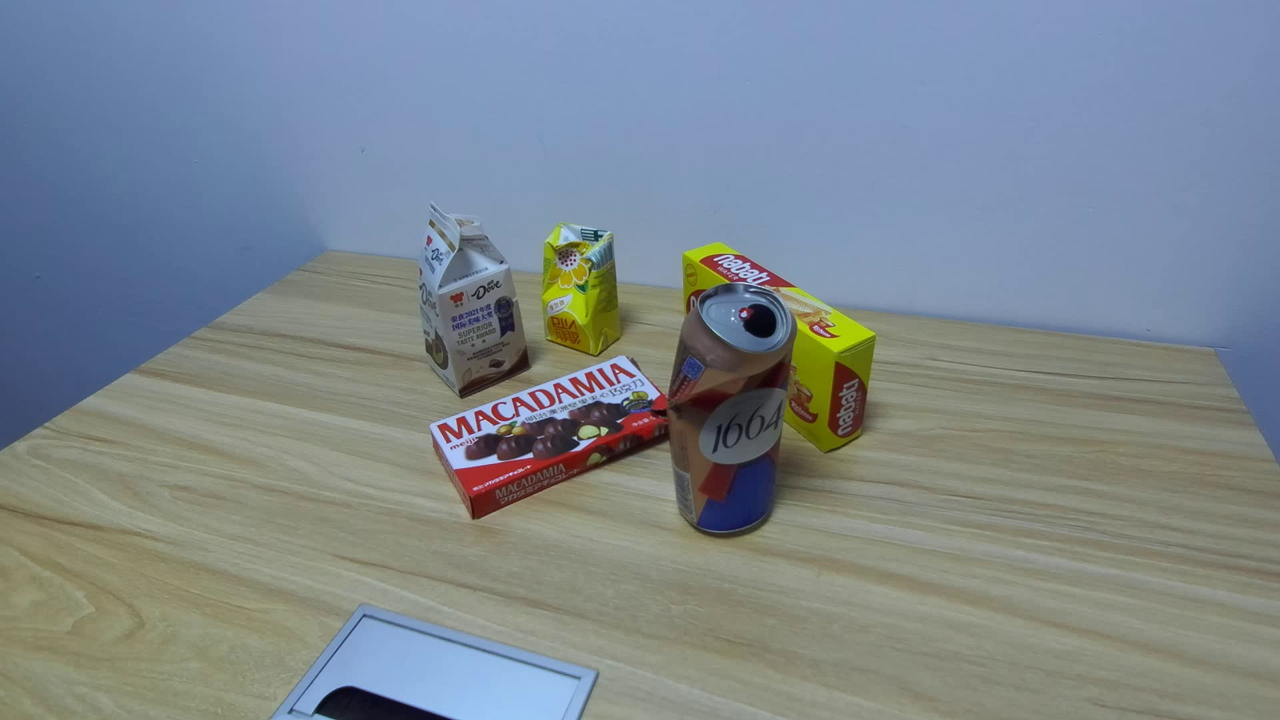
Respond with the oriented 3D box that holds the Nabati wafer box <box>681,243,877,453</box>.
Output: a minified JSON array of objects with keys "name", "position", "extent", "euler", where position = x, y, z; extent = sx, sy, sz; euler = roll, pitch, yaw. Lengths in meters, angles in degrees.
[{"name":"Nabati wafer box","position":[0.105,-0.018,0.586],"extent":[0.042,0.093,0.202],"euler":[-20,37,-22]}]

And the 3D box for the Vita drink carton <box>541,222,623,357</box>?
[{"name":"Vita drink carton","position":[-0.058,-0.065,0.656],"extent":[0.071,0.110,0.046],"euler":[16,35,33]}]

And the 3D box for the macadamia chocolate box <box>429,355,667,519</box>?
[{"name":"macadamia chocolate box","position":[-0.060,0.054,0.559],"extent":[0.187,0.027,0.102],"euler":[-21,40,-23]}]

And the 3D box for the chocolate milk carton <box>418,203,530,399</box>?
[{"name":"chocolate milk carton","position":[-0.154,-0.058,0.618],"extent":[0.073,0.155,0.084],"euler":[-24,39,-27]}]

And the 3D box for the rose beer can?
[{"name":"rose beer can","position":[0.056,0.035,0.445],"extent":[0.070,0.168,0.069],"euler":[6,37,11]}]
